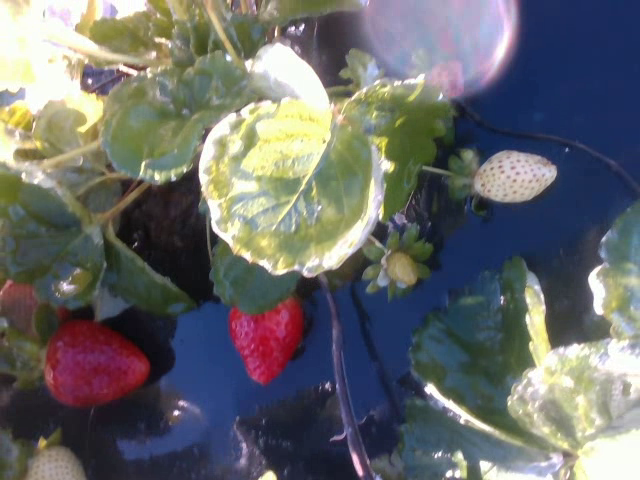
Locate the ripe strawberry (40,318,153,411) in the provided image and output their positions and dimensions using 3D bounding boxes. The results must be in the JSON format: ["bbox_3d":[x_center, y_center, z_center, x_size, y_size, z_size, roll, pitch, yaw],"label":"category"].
[{"bbox_3d":[-0.109,0.064,0.298,0.056,0.044,0.040,7,14,5],"label":"ripe strawberry"}]

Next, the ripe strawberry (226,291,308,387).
[{"bbox_3d":[-0.022,0.043,0.268,0.039,0.047,0.040,-4,1,8],"label":"ripe strawberry"}]
